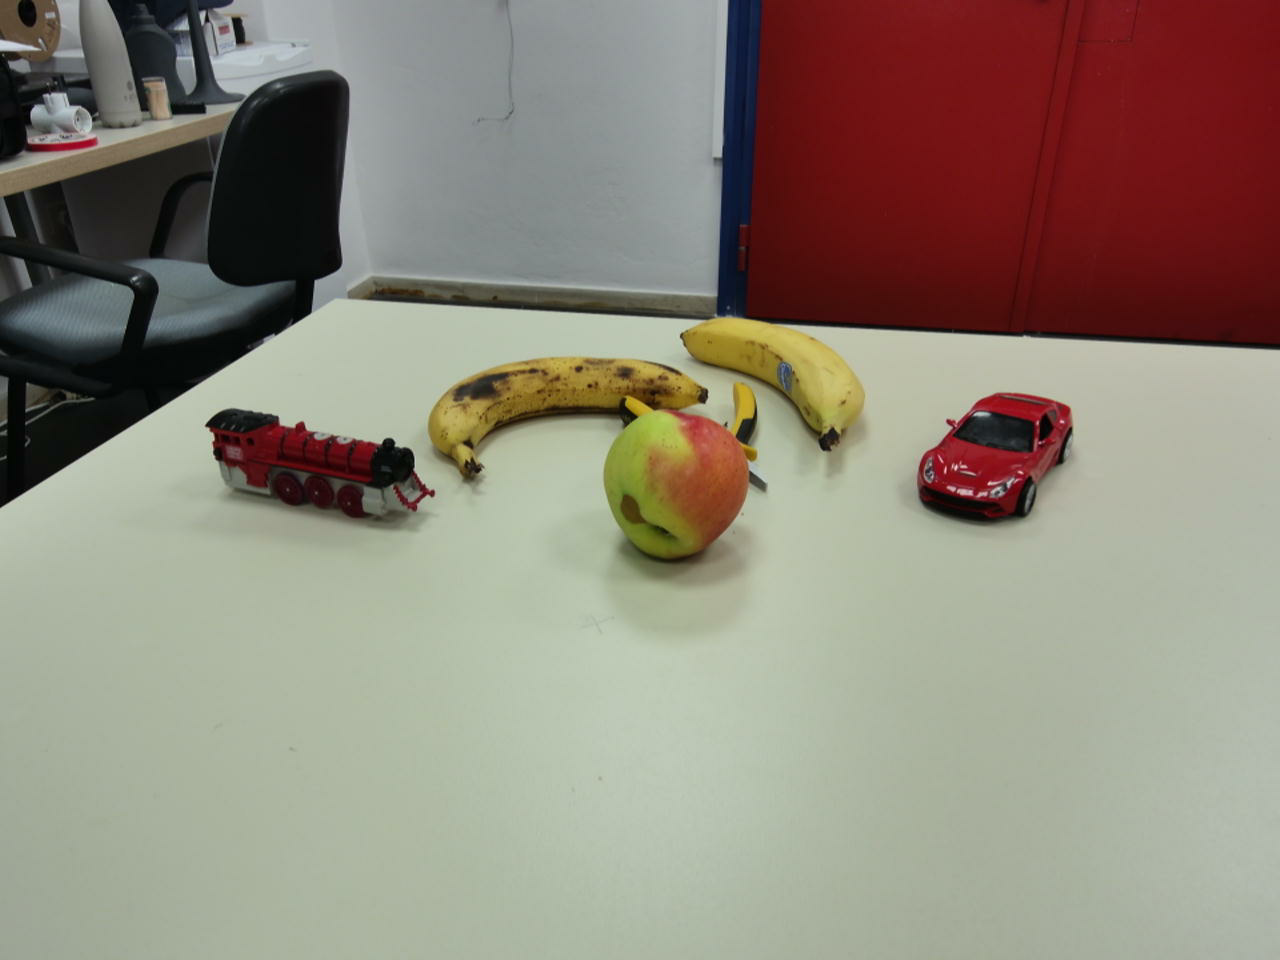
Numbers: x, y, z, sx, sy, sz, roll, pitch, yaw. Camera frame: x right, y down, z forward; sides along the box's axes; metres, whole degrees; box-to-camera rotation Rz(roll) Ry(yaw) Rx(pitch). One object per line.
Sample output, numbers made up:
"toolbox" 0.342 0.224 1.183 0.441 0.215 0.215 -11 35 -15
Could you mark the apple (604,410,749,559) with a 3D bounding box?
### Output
"apple" 0.019 0.002 0.512 0.075 0.074 0.075 -3 25 -7
